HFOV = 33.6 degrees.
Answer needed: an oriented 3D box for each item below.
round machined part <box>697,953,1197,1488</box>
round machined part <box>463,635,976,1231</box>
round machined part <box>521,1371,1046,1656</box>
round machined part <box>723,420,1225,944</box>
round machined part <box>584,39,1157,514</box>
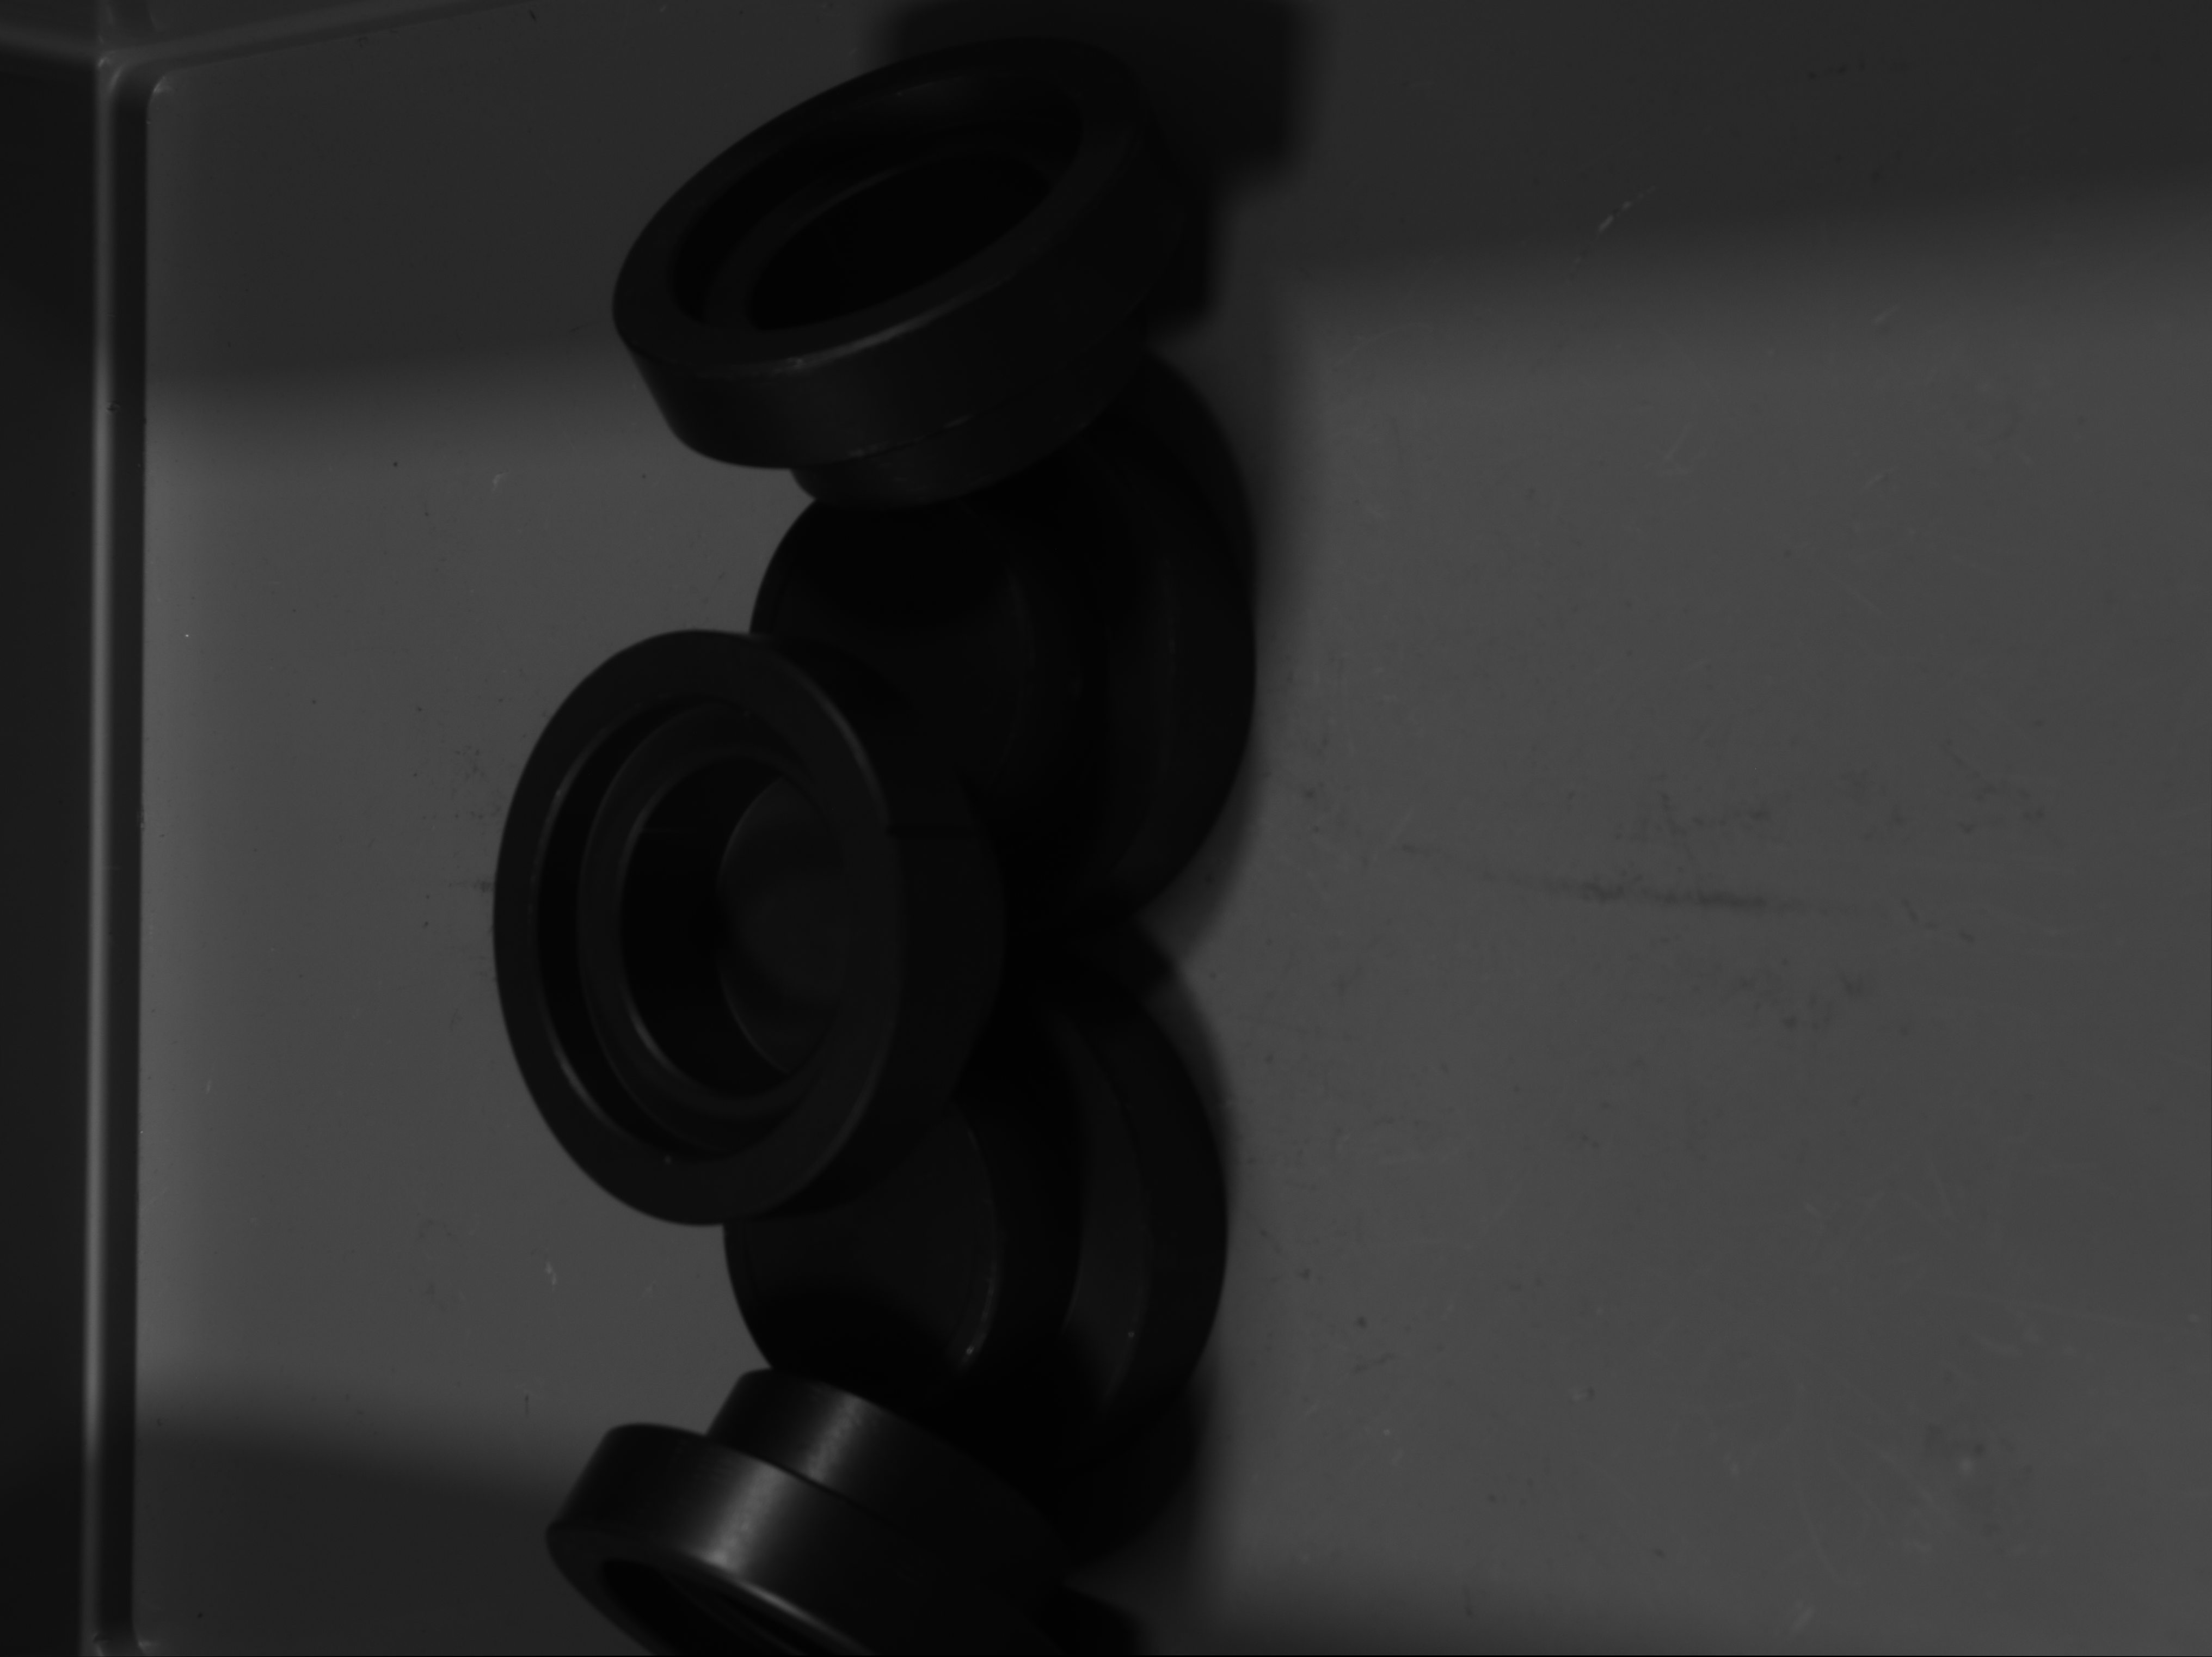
[{"bbox_3d":[-0.035,0.070,0.651,0.098,0.042,0.098,0,90,39],"label":"round machined part"},{"bbox_3d":[-0.061,0.017,0.618,0.098,0.042,0.098,0,90,39],"label":"round machined part"},{"bbox_3d":[-0.050,0.131,0.641,0.098,0.098,0.042,8,57,39],"label":"round machined part"},{"bbox_3d":[-0.030,-0.028,0.648,0.098,0.042,0.098,0,90,39],"label":"round machined part"},{"bbox_3d":[-0.037,-0.091,0.630,0.098,0.098,0.042,9,138,39],"label":"round machined part"}]
